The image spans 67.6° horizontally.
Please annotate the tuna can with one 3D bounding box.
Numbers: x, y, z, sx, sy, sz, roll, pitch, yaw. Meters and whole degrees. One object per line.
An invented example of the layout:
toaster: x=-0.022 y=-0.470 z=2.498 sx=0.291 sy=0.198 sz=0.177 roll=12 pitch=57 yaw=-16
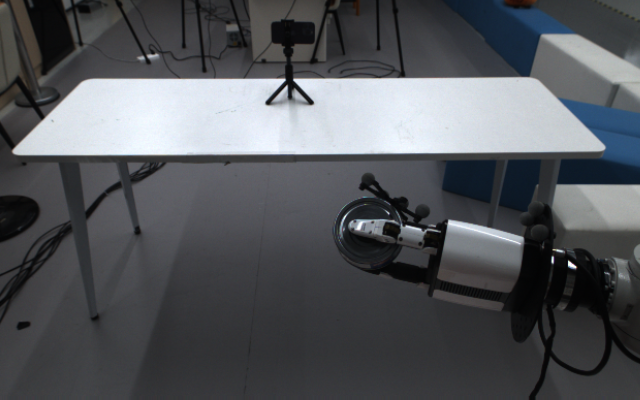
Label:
tuna can: x=0.063 y=0.045 z=0.587 sx=0.085 sy=0.034 sz=0.085 roll=-4 pitch=69 yaw=10
